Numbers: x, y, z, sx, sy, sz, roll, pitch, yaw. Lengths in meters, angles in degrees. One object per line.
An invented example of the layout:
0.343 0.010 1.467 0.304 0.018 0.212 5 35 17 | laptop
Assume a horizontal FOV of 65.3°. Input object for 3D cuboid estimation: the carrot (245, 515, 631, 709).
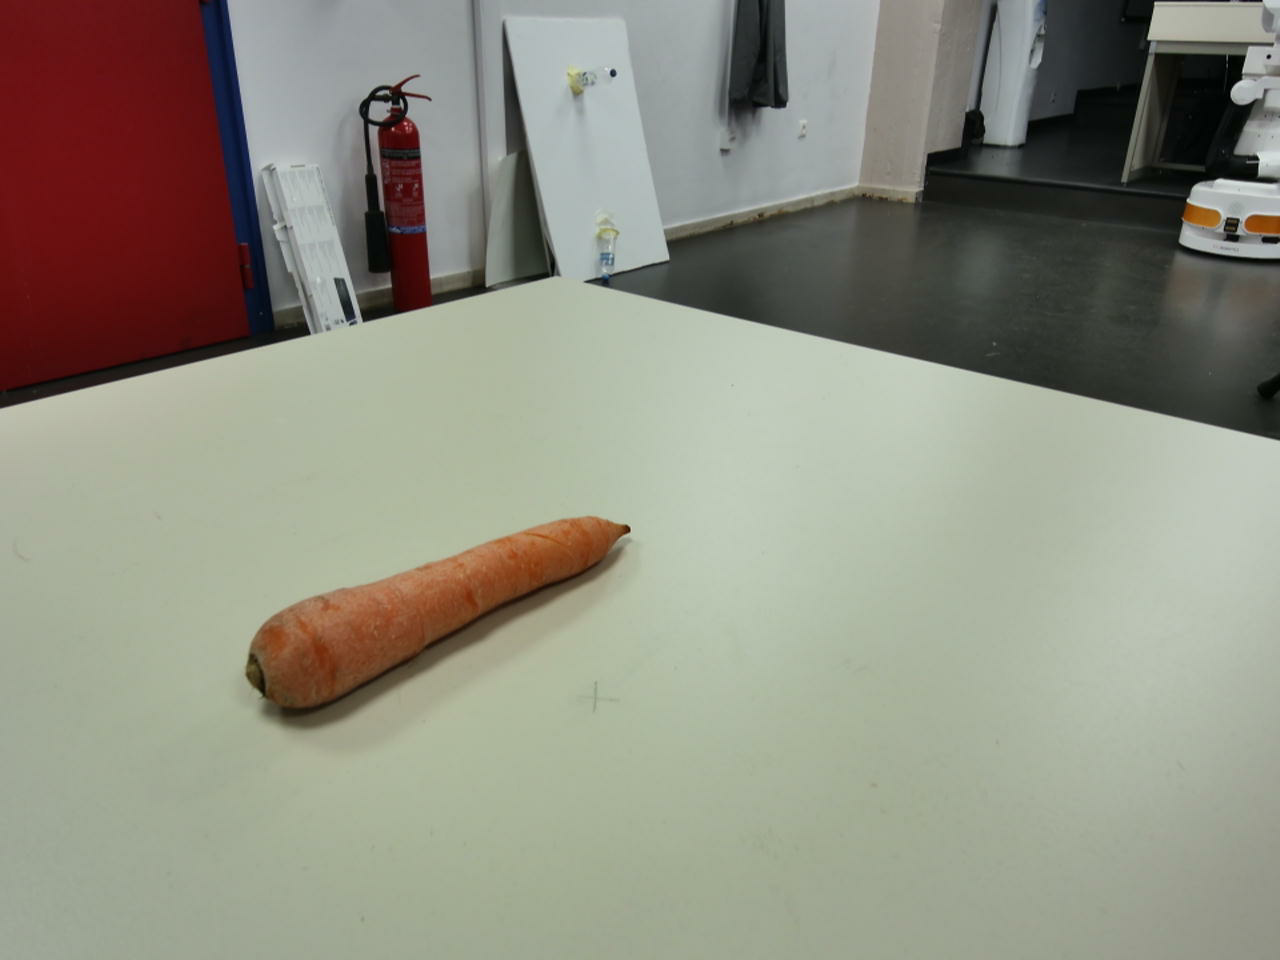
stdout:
-0.072 0.041 0.419 0.039 0.041 0.196 18 29 36 | carrot
